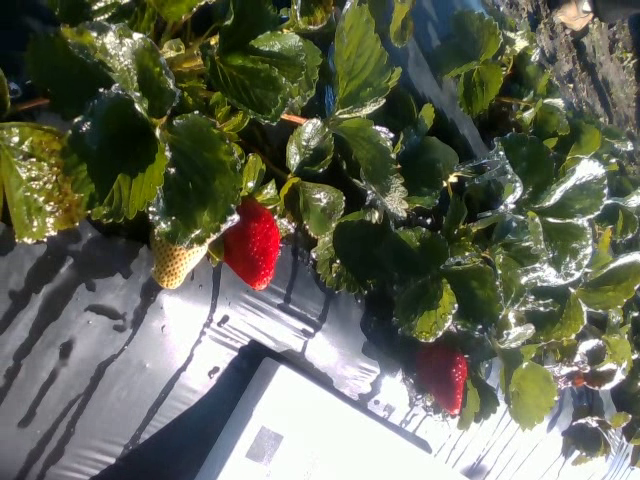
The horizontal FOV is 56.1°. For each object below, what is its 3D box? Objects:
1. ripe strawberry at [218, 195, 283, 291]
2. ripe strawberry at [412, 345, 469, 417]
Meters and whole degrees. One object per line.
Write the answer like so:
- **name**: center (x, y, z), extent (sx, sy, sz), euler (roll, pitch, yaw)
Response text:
- **ripe strawberry**: center (-0.043, 0.009, 0.359), extent (0.042, 0.061, 0.046), euler (23, -46, -39)
- **ripe strawberry**: center (0.106, 0.118, 0.493), extent (0.044, 0.061, 0.048), euler (-24, -40, 35)
